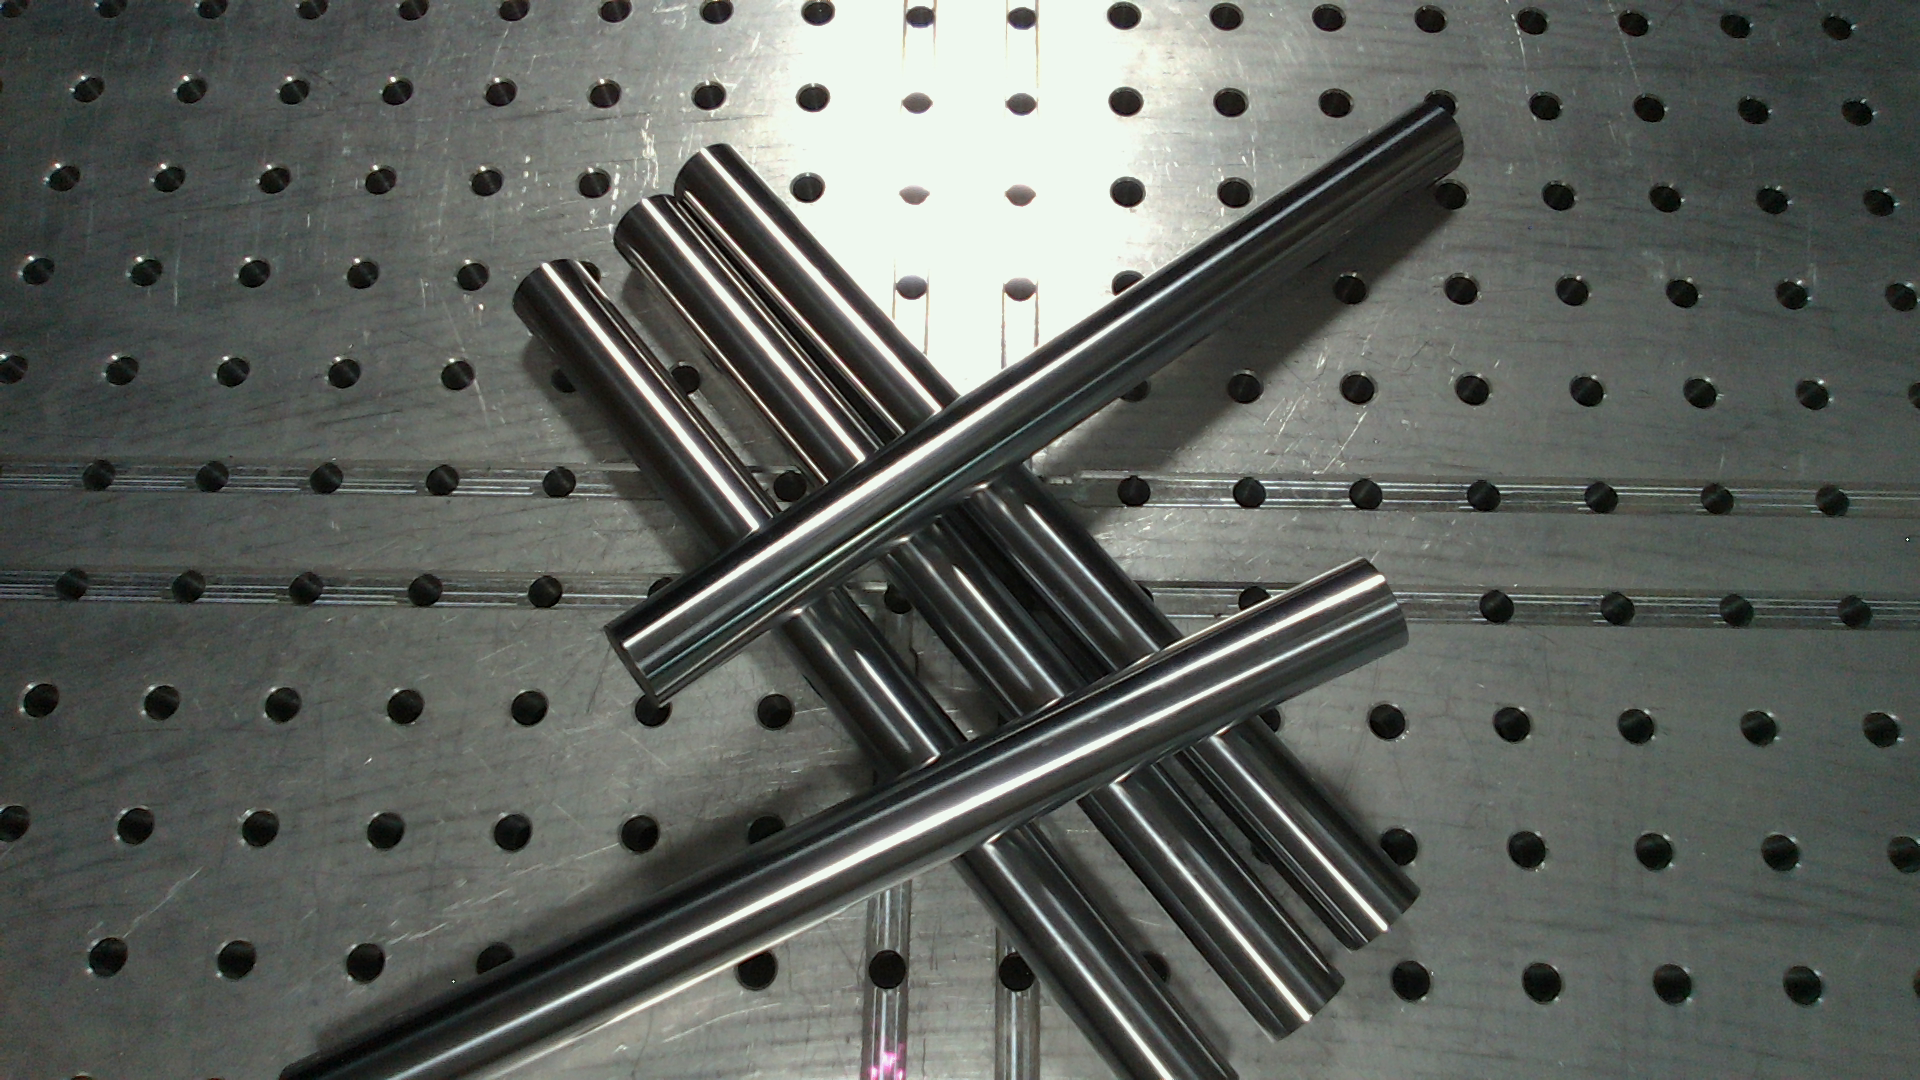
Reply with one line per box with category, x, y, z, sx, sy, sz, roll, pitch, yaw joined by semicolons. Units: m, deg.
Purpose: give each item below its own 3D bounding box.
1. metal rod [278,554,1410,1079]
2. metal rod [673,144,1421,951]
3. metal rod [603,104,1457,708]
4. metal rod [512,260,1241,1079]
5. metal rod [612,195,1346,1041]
metal rod;-0.029;0.079;0.346;0.300;0.025;0.025;-26;72;0
metal rod;0.015;-0.008;0.400;0.025;0.025;0.300;-38;74;-13
metal rod;0.034;-0.049;0.393;0.301;0.025;0.025;-35;73;-20
metal rod;-0.033;0.033;0.385;0.025;0.025;0.300;-37;74;-12
metal rod;-0.005;0.011;0.393;0.025;0.025;0.300;-37;74;-12
